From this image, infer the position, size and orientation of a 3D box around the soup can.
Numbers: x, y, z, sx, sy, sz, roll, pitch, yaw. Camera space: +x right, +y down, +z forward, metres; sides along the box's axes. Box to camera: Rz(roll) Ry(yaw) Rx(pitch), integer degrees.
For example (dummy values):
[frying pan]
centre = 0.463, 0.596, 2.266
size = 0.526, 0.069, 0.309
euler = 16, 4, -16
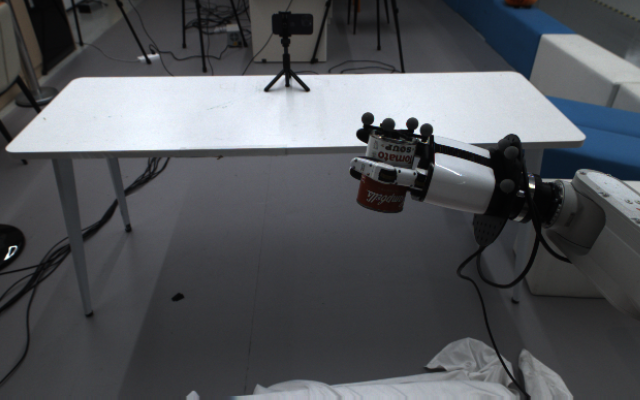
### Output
[soup can]
centre = 0.094, -0.041, 0.673
size = 0.067, 0.101, 0.067
euler = 9, 19, -3
